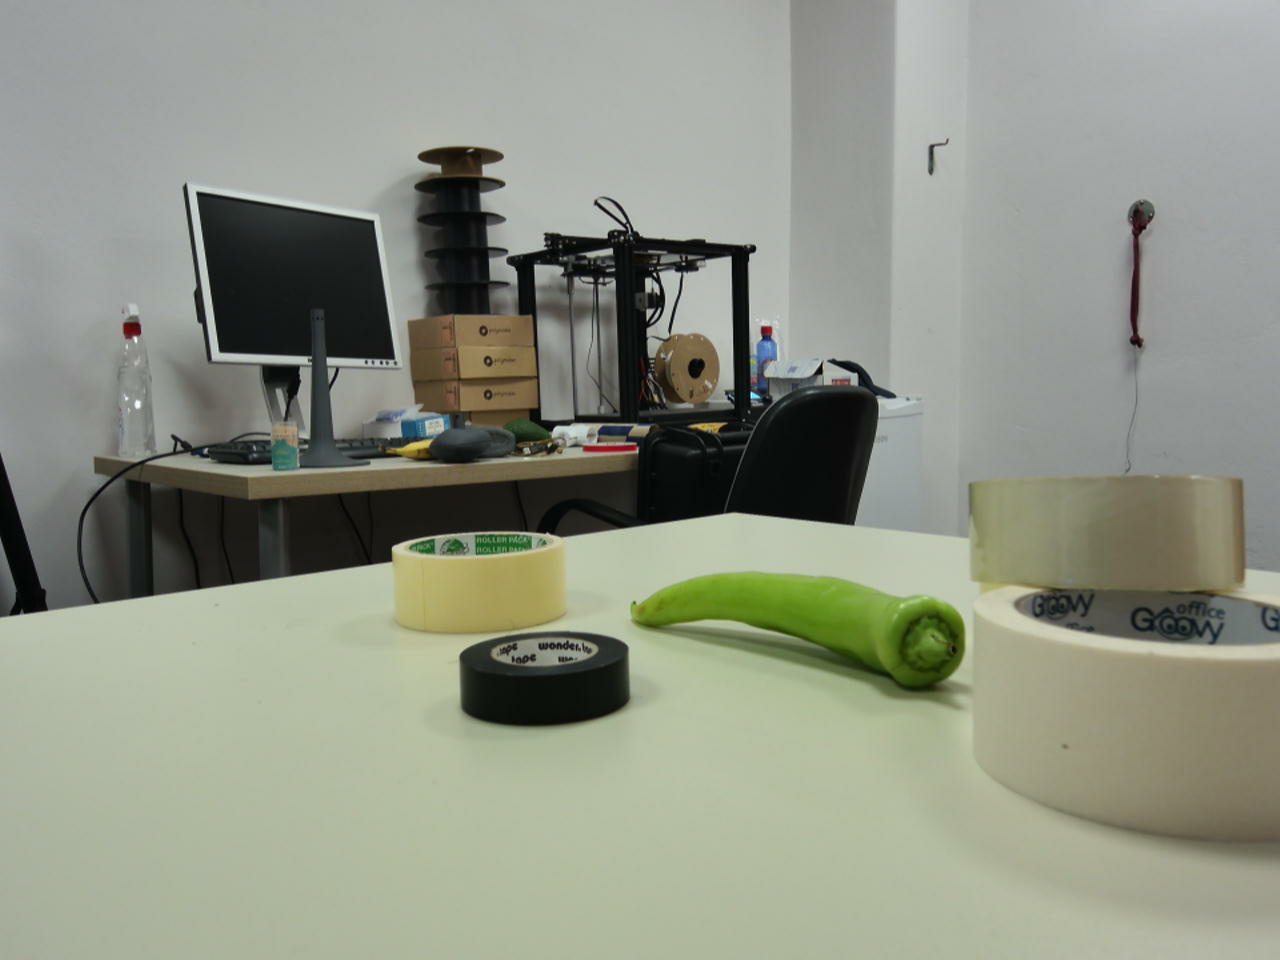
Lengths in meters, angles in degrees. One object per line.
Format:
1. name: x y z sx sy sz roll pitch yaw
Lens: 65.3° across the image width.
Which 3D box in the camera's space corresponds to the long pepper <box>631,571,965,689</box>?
1. long pepper: 0.067 0.060 0.460 0.046 0.038 0.197 -1 4 -38
